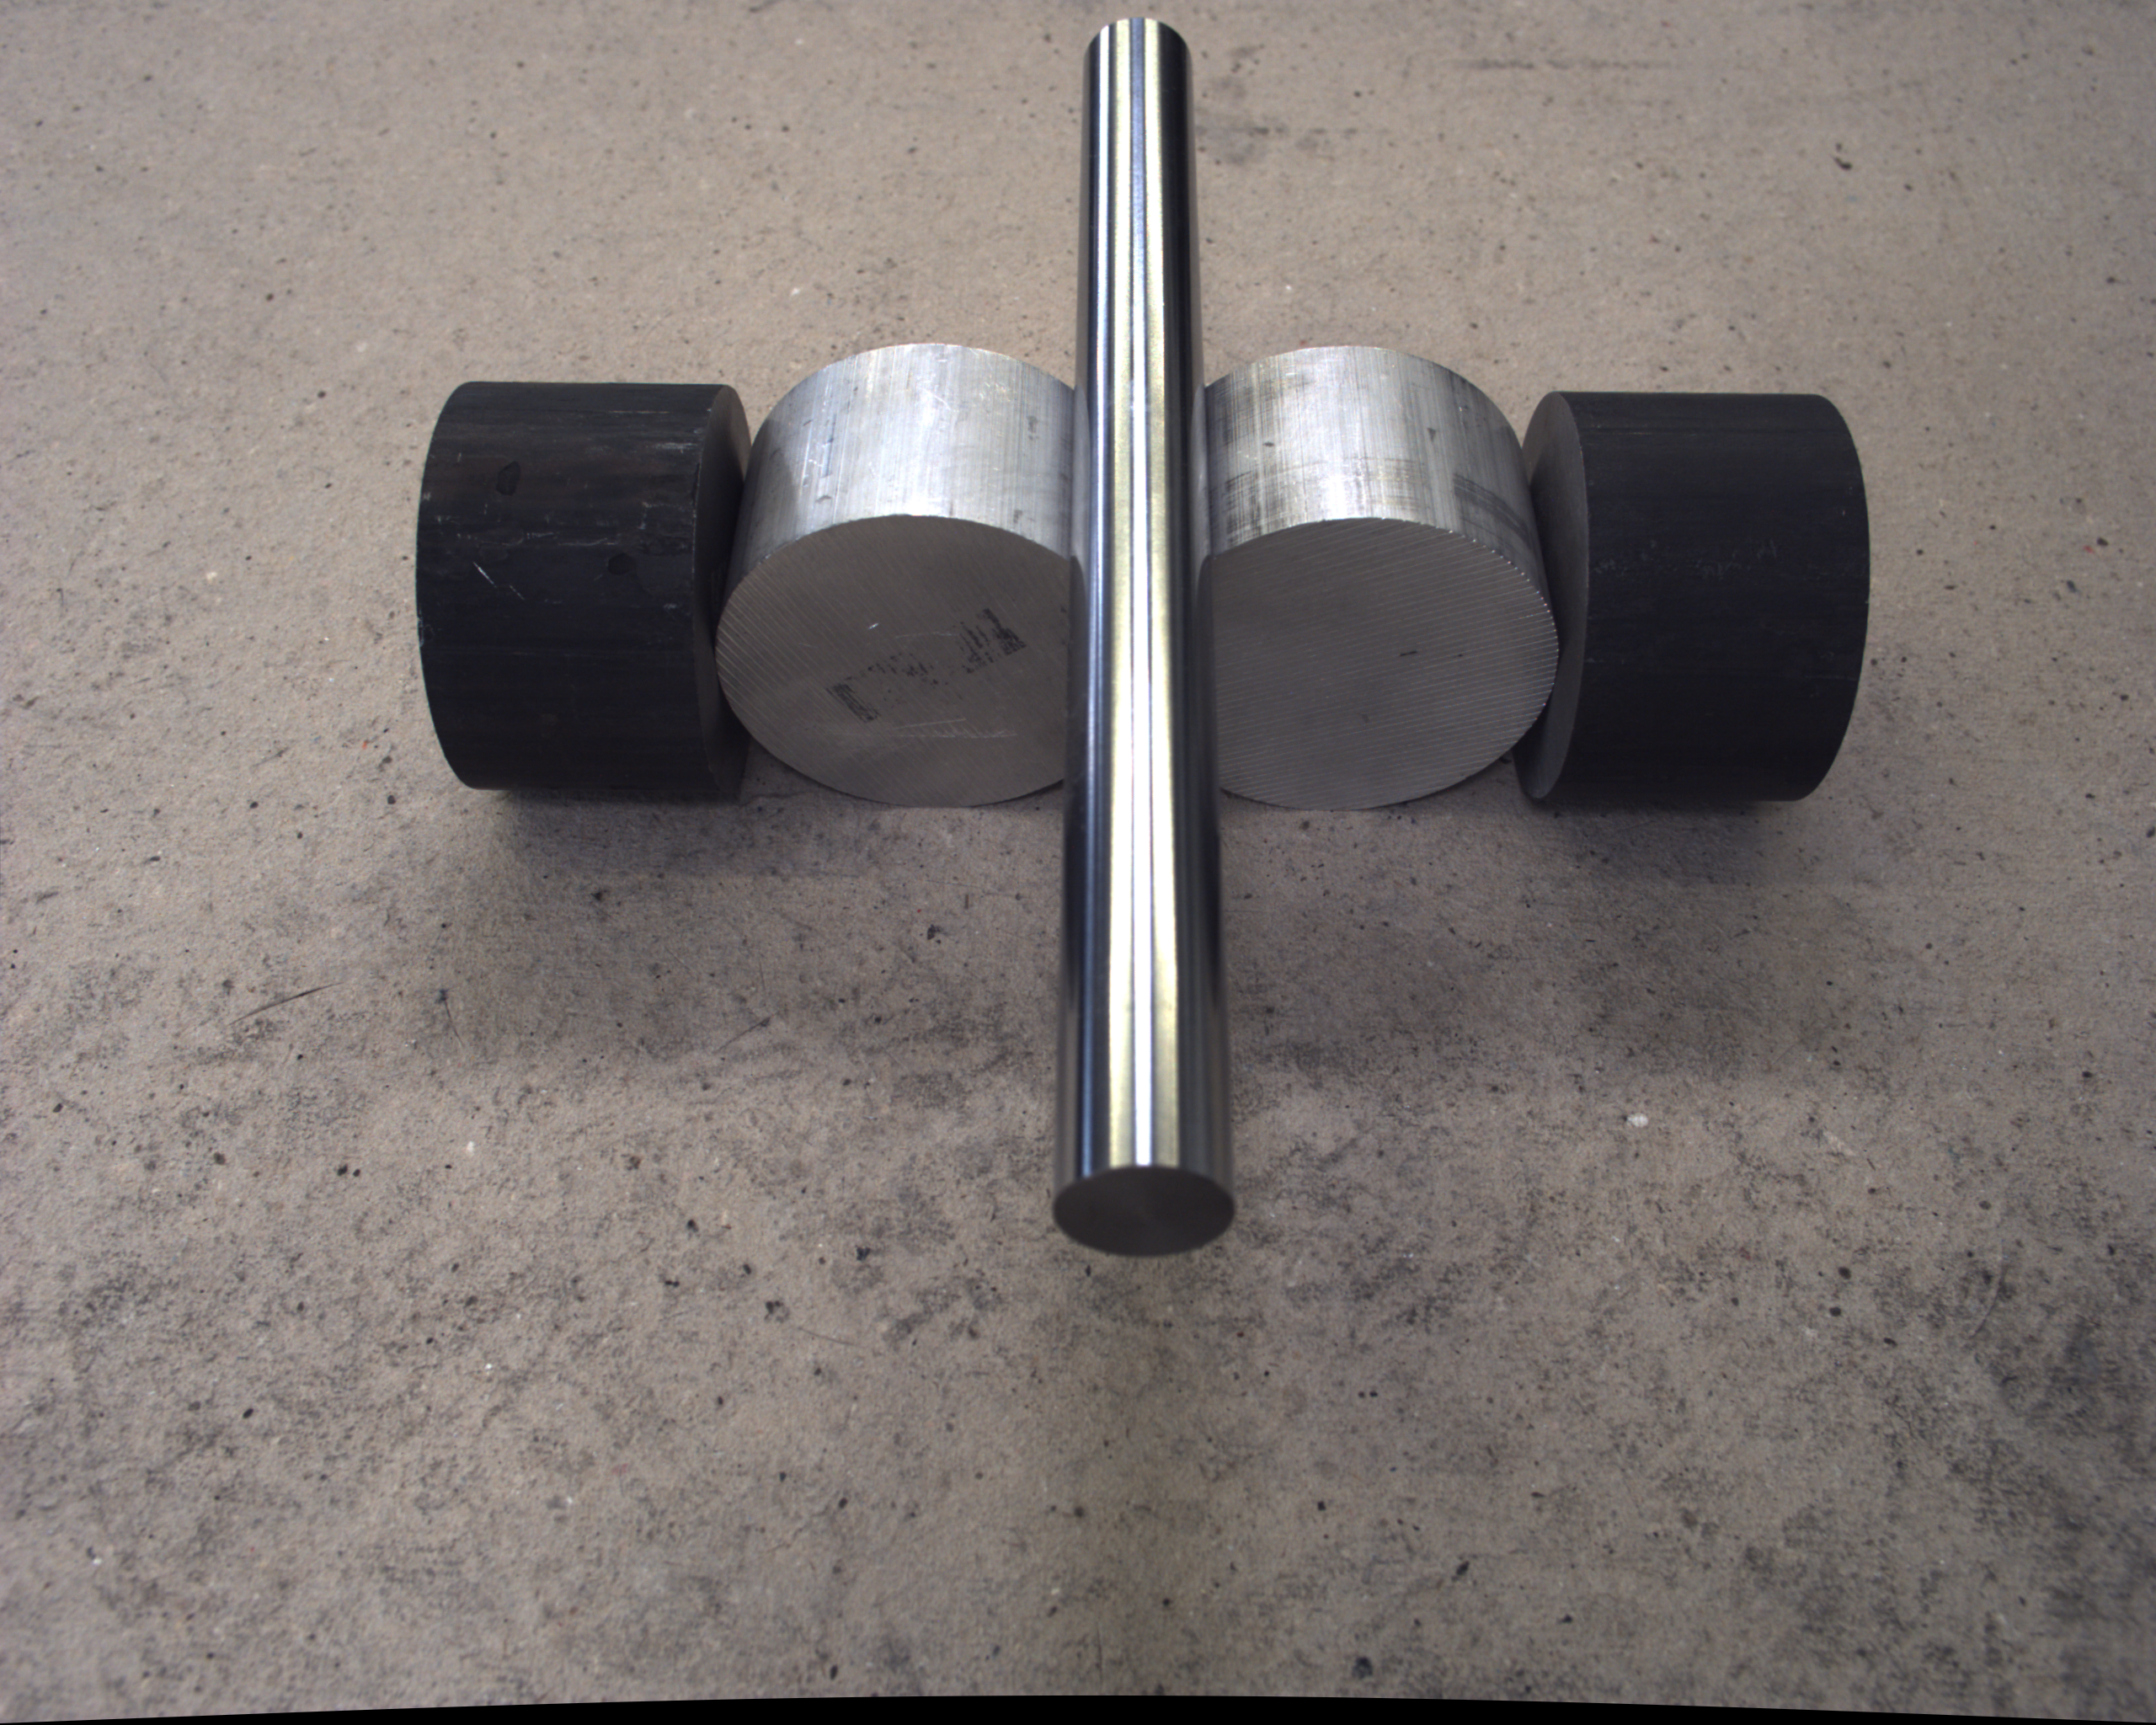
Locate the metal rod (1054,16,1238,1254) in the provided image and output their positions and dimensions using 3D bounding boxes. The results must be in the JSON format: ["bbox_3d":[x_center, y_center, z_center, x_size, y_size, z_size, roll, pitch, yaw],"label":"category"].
[{"bbox_3d":[0.012,-0.067,0.381,0.025,0.025,0.300,1,50,0],"label":"metal rod"}]

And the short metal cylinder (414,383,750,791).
[{"bbox_3d":[-0.094,-0.054,0.414,0.050,0.080,0.080,1,50,0],"label":"short metal cylinder"}]

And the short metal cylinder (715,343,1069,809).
[{"bbox_3d":[-0.029,-0.055,0.416,0.080,0.080,0.050,1,50,0],"label":"short metal cylinder"}]

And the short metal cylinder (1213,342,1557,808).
[{"bbox_3d":[0.051,-0.056,0.416,0.080,0.080,0.050,1,50,0],"label":"short metal cylinder"}]

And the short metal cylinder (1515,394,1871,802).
[{"bbox_3d":[0.117,-0.052,0.414,0.050,0.080,0.080,1,50,0],"label":"short metal cylinder"}]
